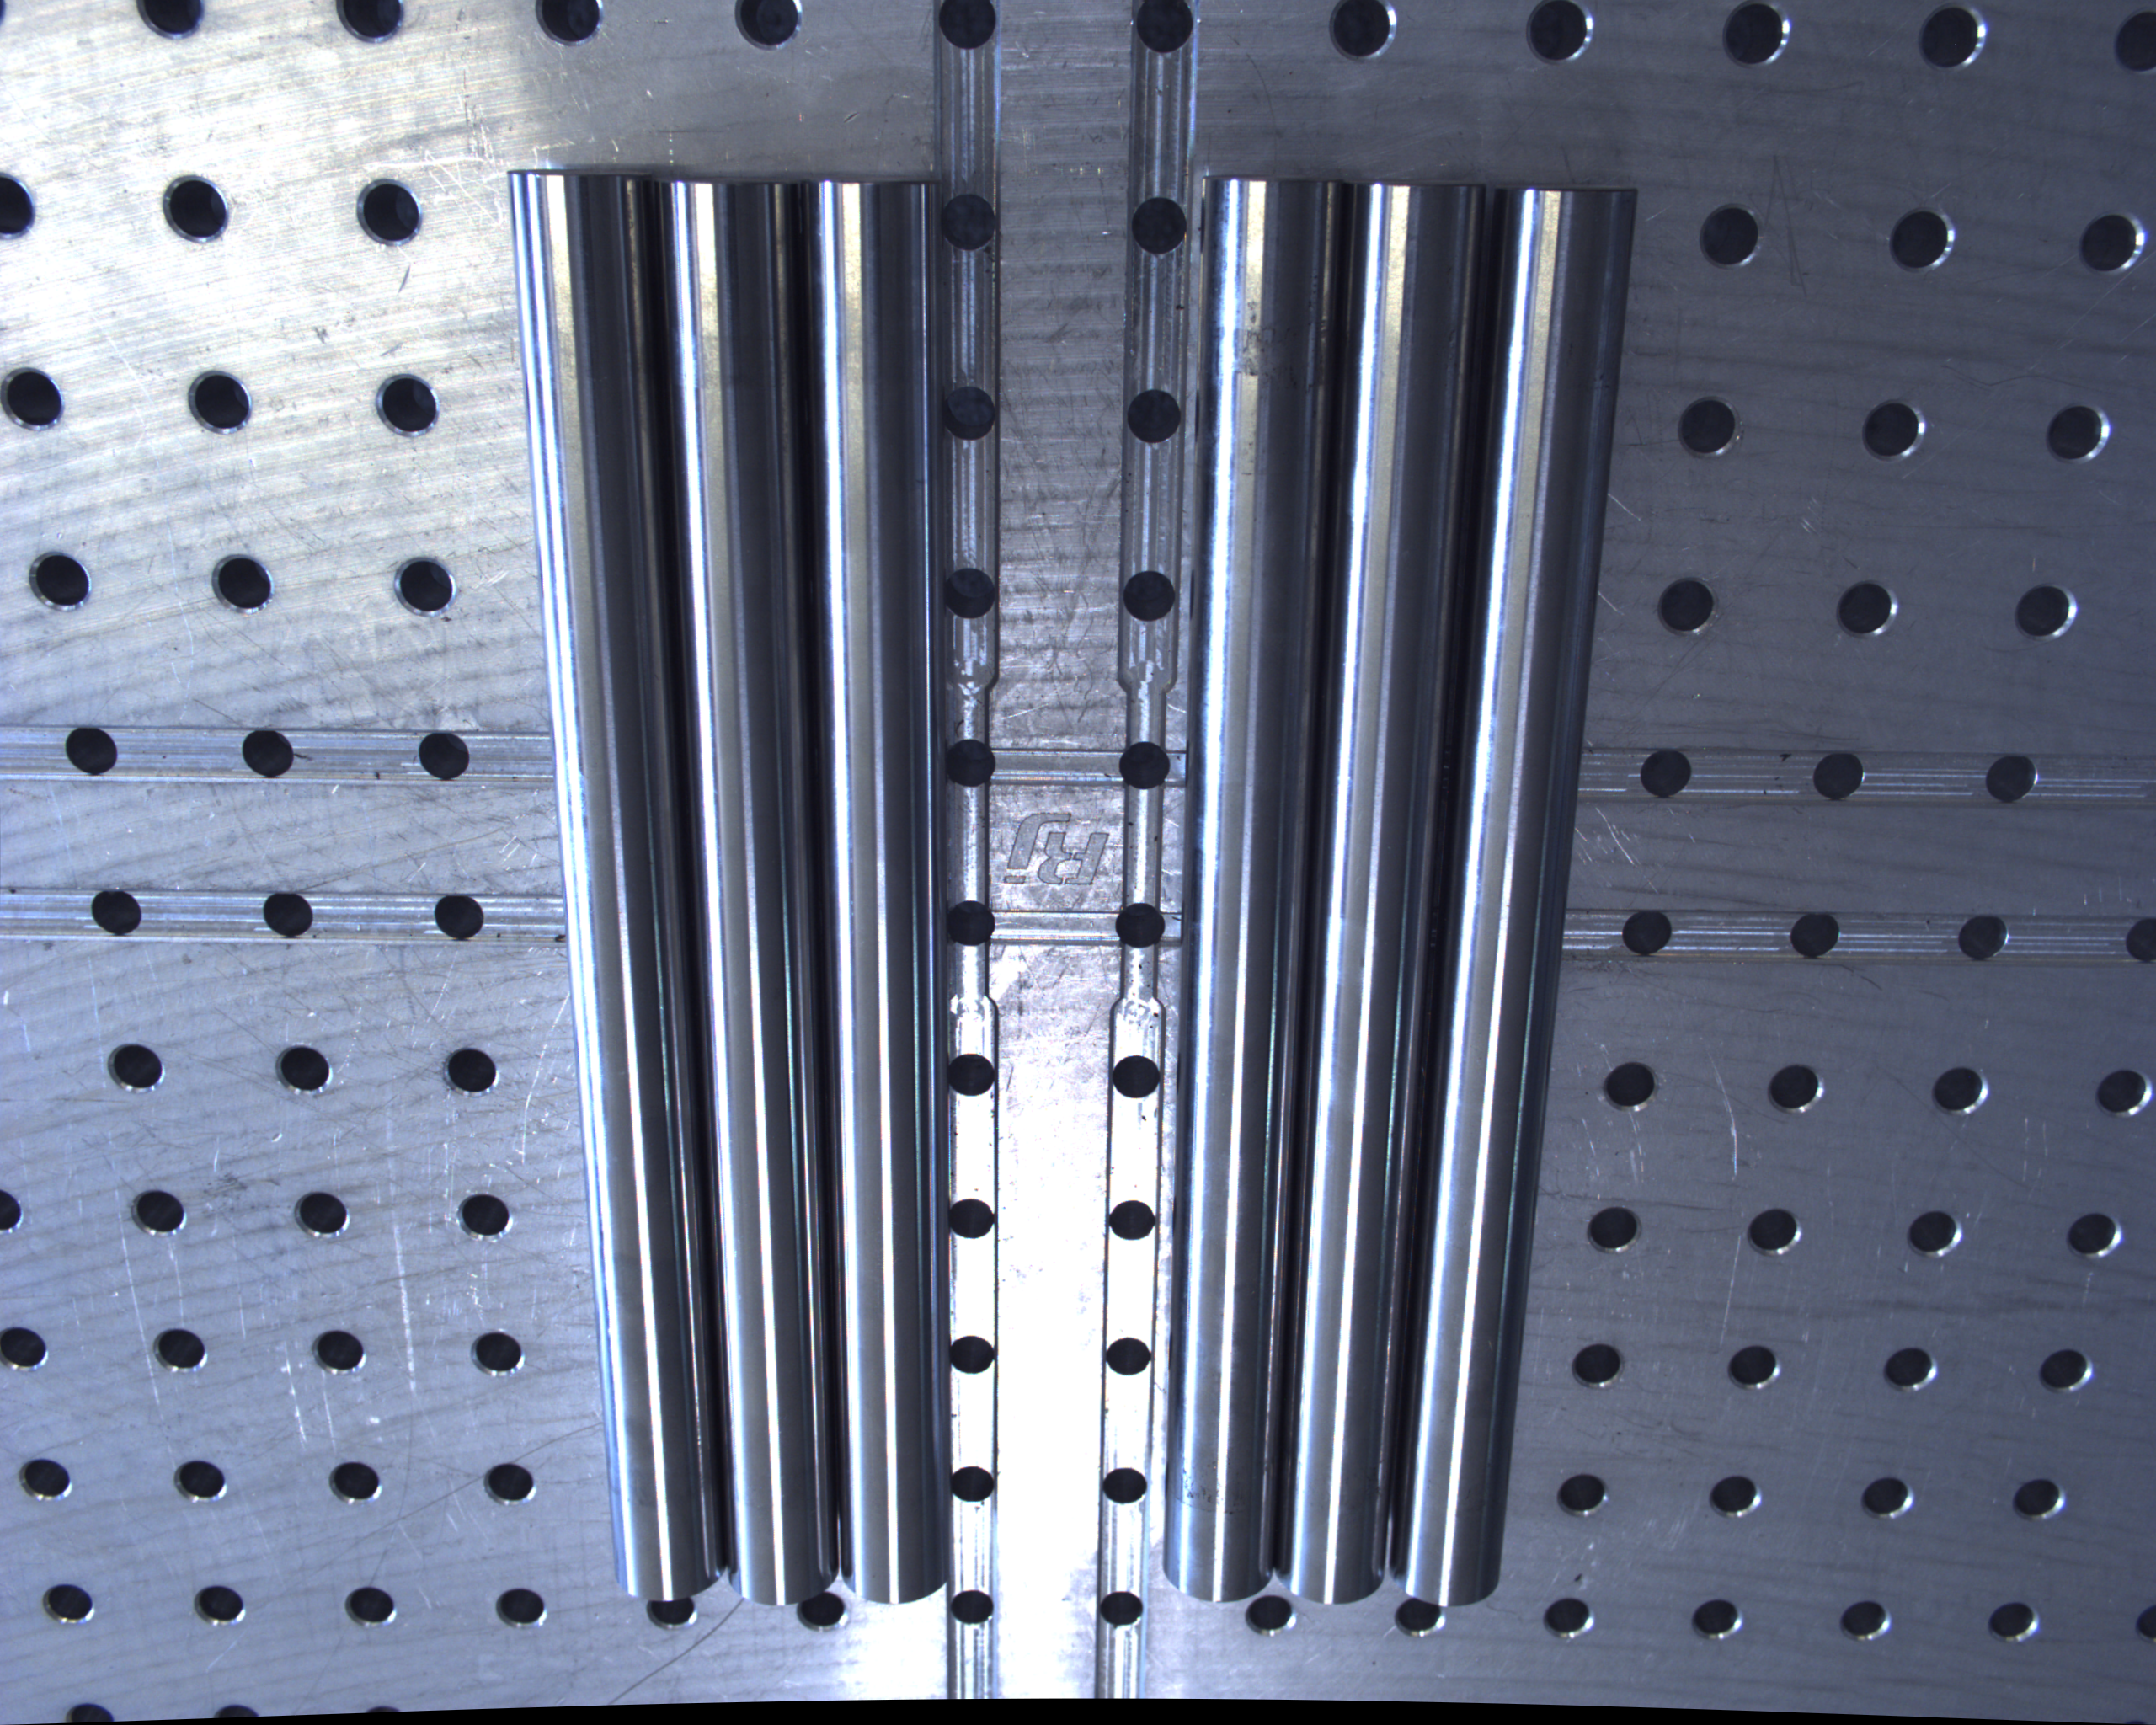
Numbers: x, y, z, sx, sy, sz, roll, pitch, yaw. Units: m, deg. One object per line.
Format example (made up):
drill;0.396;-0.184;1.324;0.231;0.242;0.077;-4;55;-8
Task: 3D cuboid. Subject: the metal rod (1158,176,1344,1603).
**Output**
metal rod;0.033;0.019;0.420;0.025;0.025;0.298;1;110;0

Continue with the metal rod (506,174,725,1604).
metal rod;-0.089;0.019;0.419;0.025;0.025;0.298;1;110;0

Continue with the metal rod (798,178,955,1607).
metal rod;-0.039;0.020;0.420;0.025;0.025;0.298;1;110;0

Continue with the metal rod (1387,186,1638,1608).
metal rod;0.084;0.020;0.421;0.025;0.025;0.298;1;110;0

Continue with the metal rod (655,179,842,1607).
metal rod;-0.064;0.020;0.419;0.025;0.025;0.298;1;110;0

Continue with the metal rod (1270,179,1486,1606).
metal rod;0.058;0.020;0.420;0.025;0.025;0.298;1;110;0
